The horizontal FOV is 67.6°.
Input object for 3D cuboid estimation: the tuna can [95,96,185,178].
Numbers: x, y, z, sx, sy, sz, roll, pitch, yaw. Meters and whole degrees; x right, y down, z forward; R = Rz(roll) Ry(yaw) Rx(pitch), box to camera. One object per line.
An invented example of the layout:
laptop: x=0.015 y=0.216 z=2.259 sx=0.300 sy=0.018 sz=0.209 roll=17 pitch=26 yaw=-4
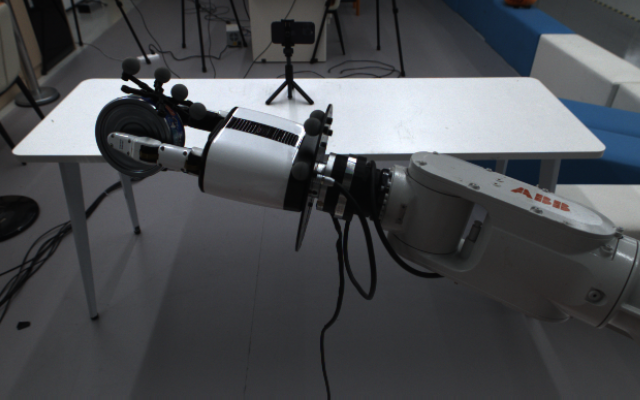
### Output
tuna can: x=-0.189 y=-0.068 z=0.511 sx=0.085 sy=0.085 sz=0.034 roll=6 pitch=19 yaw=6
